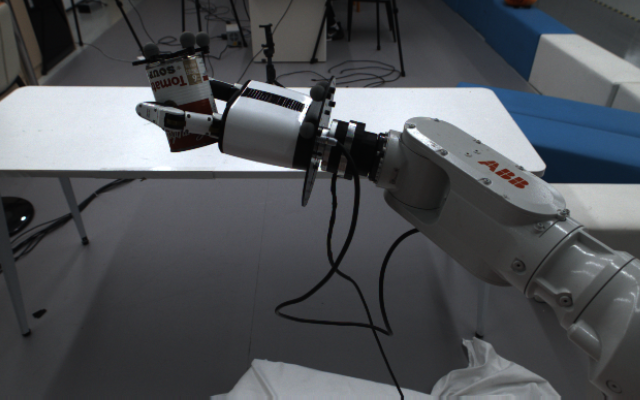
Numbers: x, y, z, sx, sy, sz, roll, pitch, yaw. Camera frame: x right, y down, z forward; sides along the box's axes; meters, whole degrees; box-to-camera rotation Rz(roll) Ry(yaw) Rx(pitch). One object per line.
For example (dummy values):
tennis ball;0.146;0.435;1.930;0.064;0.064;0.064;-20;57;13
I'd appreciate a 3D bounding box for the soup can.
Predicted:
soup can;-0.158;-0.113;0.577;0.067;0.101;0.067;-13;17;4
